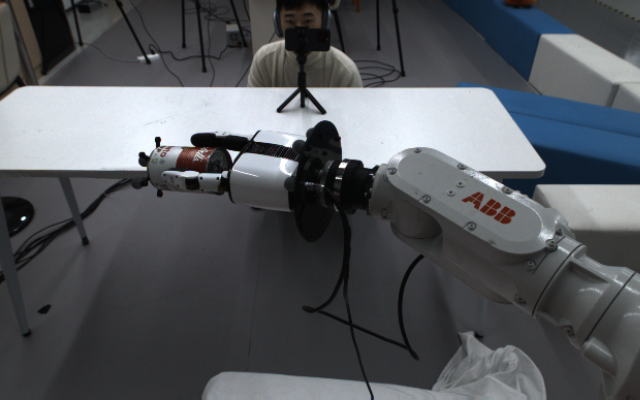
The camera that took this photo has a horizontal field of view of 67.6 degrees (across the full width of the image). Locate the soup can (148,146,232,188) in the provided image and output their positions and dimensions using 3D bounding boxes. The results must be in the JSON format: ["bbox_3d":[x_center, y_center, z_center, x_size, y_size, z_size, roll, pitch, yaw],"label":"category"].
[{"bbox_3d":[-0.185,-0.043,0.695,0.101,0.067,0.067,4,34,20],"label":"soup can"}]
